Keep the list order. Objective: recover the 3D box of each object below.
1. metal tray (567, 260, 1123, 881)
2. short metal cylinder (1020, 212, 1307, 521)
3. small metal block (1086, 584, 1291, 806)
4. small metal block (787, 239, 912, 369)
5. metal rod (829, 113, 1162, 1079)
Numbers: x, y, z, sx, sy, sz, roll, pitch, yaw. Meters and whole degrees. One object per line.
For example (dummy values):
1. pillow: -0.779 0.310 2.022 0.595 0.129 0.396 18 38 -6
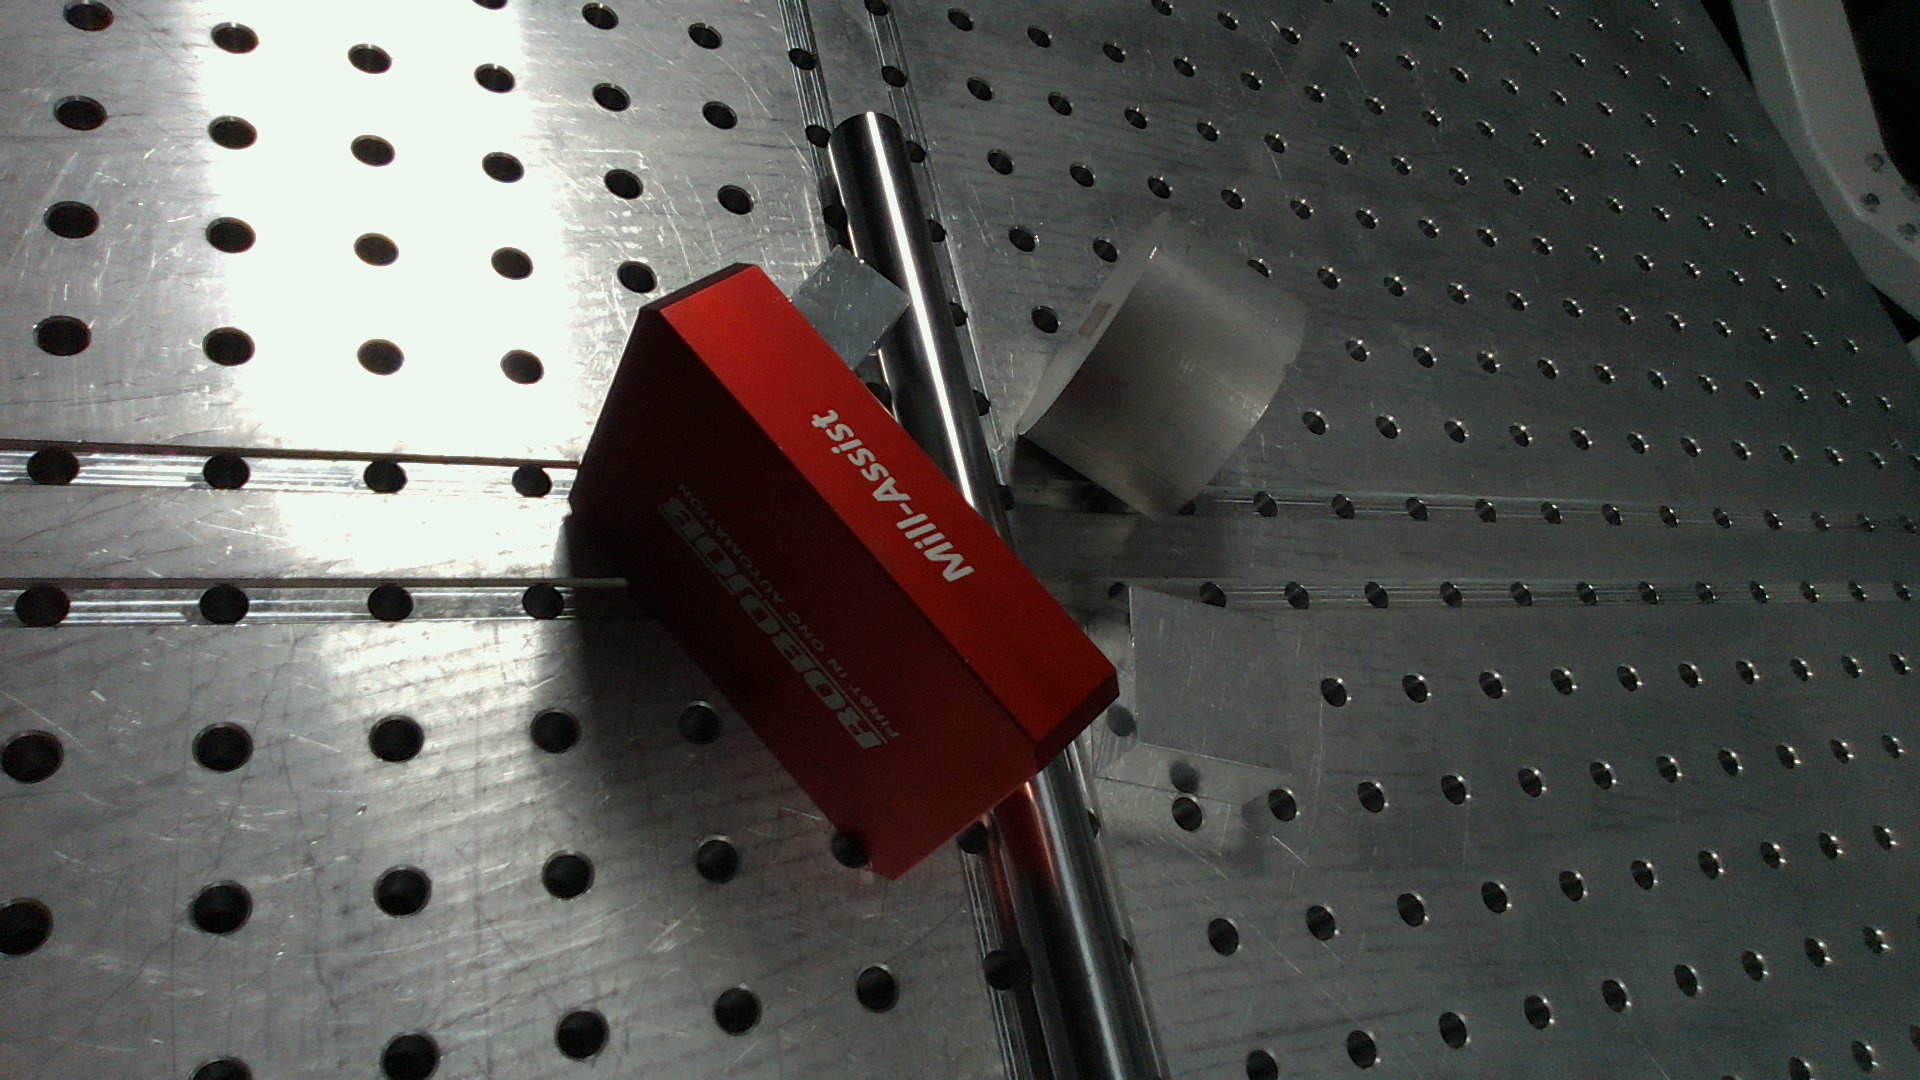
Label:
1. metal tray: -0.033 0.011 0.326 0.130 0.090 0.030 48 51 6
2. short metal cylinder: 0.061 -0.053 0.422 0.050 0.080 0.080 33 51 -7
3. small metal block: 0.065 0.046 0.401 0.050 0.025 0.050 14 56 -20
4. small metal block: -0.044 -0.046 0.380 0.025 0.050 0.050 36 51 -4
5. metal rod: 0.003 0.000 0.394 0.025 0.025 0.300 0 62 -28
